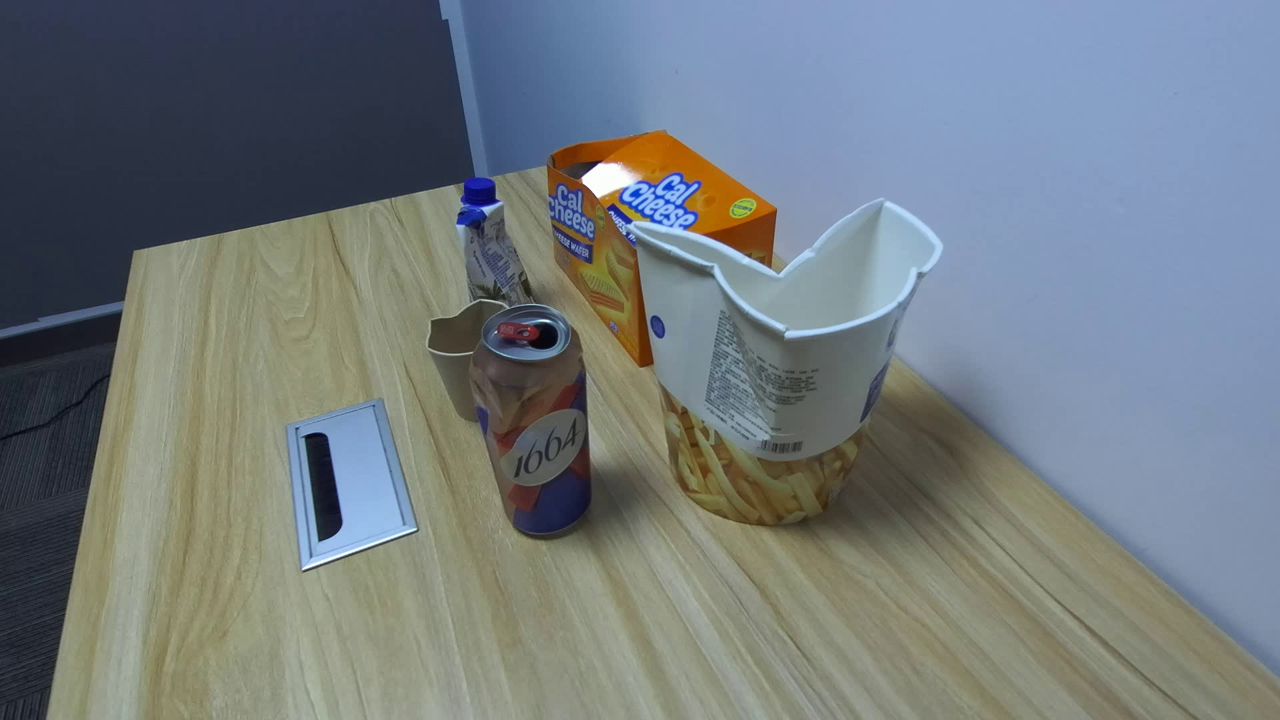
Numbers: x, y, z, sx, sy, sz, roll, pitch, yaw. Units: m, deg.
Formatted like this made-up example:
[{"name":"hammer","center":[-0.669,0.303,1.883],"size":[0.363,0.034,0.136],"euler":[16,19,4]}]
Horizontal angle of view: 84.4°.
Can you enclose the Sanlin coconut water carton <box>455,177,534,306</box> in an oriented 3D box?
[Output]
[{"name":"Sanlin coconut water carton","center":[-0.152,-0.099,0.680],"size":[0.056,0.145,0.068],"euler":[17,49,32]}]

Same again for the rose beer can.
[{"name":"rose beer can","center":[-0.068,0.047,0.481],"size":[0.076,0.167,0.065],"euler":[-23,44,-28]}]

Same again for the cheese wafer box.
[{"name":"cheese wafer box","center":[0.011,-0.126,0.715],"size":[0.152,0.132,0.229],"euler":[-20,45,-19]}]

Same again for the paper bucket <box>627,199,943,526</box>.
[{"name":"paper bucket","center":[0.102,-0.004,0.508],"size":[0.163,0.202,0.168],"euler":[-24,47,-26]}]
